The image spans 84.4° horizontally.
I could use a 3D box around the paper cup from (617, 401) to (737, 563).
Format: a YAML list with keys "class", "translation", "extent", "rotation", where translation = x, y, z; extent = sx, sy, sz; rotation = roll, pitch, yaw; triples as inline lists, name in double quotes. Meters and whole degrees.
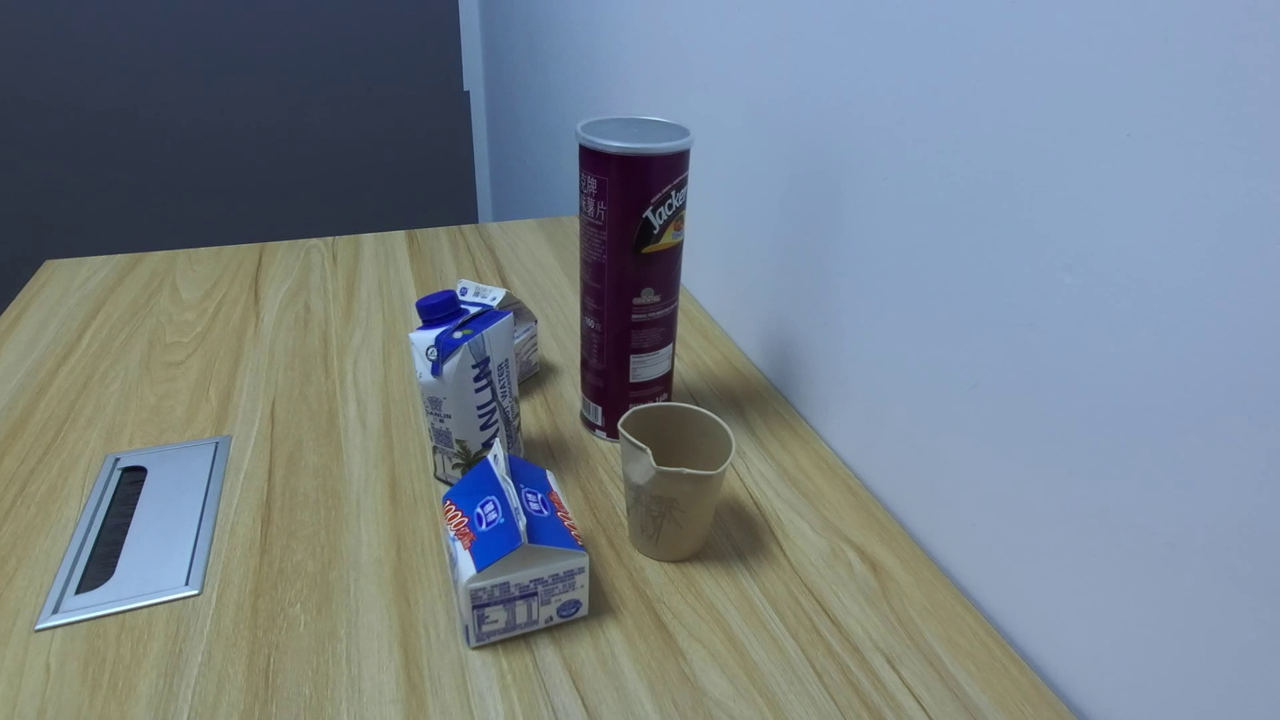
- class: "paper cup"
  translation: [0.021, 0.081, 0.458]
  extent: [0.073, 0.081, 0.068]
  rotation: [3, 31, 0]

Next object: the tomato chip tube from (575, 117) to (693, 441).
- class: "tomato chip tube"
  translation: [-0.008, -0.052, 0.529]
  extent: [0.078, 0.234, 0.078]
  rotation: [2, 31, -1]

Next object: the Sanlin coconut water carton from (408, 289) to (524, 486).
- class: "Sanlin coconut water carton"
  translation: [-0.119, 0.022, 0.497]
  extent: [0.057, 0.142, 0.078]
  rotation: [11, 31, 26]

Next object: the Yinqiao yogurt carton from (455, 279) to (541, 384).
- class: "Yinqiao yogurt carton"
  translation: [-0.136, -0.026, 0.612]
  extent: [0.083, 0.093, 0.077]
  rotation: [22, 37, 27]

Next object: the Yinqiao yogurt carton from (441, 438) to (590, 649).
- class: "Yinqiao yogurt carton"
  translation: [-0.074, 0.102, 0.414]
  extent: [0.074, 0.092, 0.075]
  rotation: [-10, 36, -20]
